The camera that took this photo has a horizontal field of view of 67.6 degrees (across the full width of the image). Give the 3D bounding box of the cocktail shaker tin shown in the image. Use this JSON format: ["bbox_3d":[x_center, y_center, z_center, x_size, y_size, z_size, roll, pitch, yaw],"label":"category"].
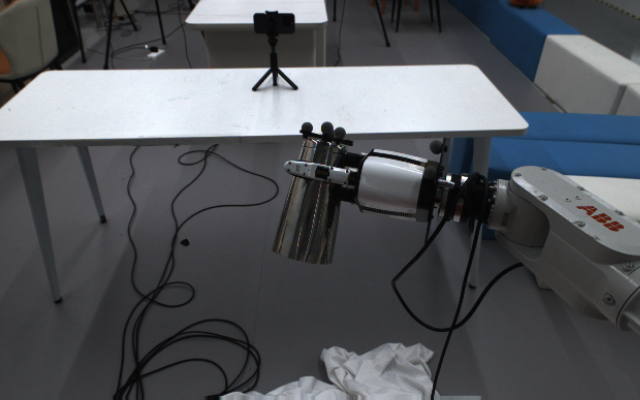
[{"bbox_3d":[-0.008,-0.003,0.718,0.093,0.170,0.093,13,3,-1],"label":"cocktail shaker tin"}]
